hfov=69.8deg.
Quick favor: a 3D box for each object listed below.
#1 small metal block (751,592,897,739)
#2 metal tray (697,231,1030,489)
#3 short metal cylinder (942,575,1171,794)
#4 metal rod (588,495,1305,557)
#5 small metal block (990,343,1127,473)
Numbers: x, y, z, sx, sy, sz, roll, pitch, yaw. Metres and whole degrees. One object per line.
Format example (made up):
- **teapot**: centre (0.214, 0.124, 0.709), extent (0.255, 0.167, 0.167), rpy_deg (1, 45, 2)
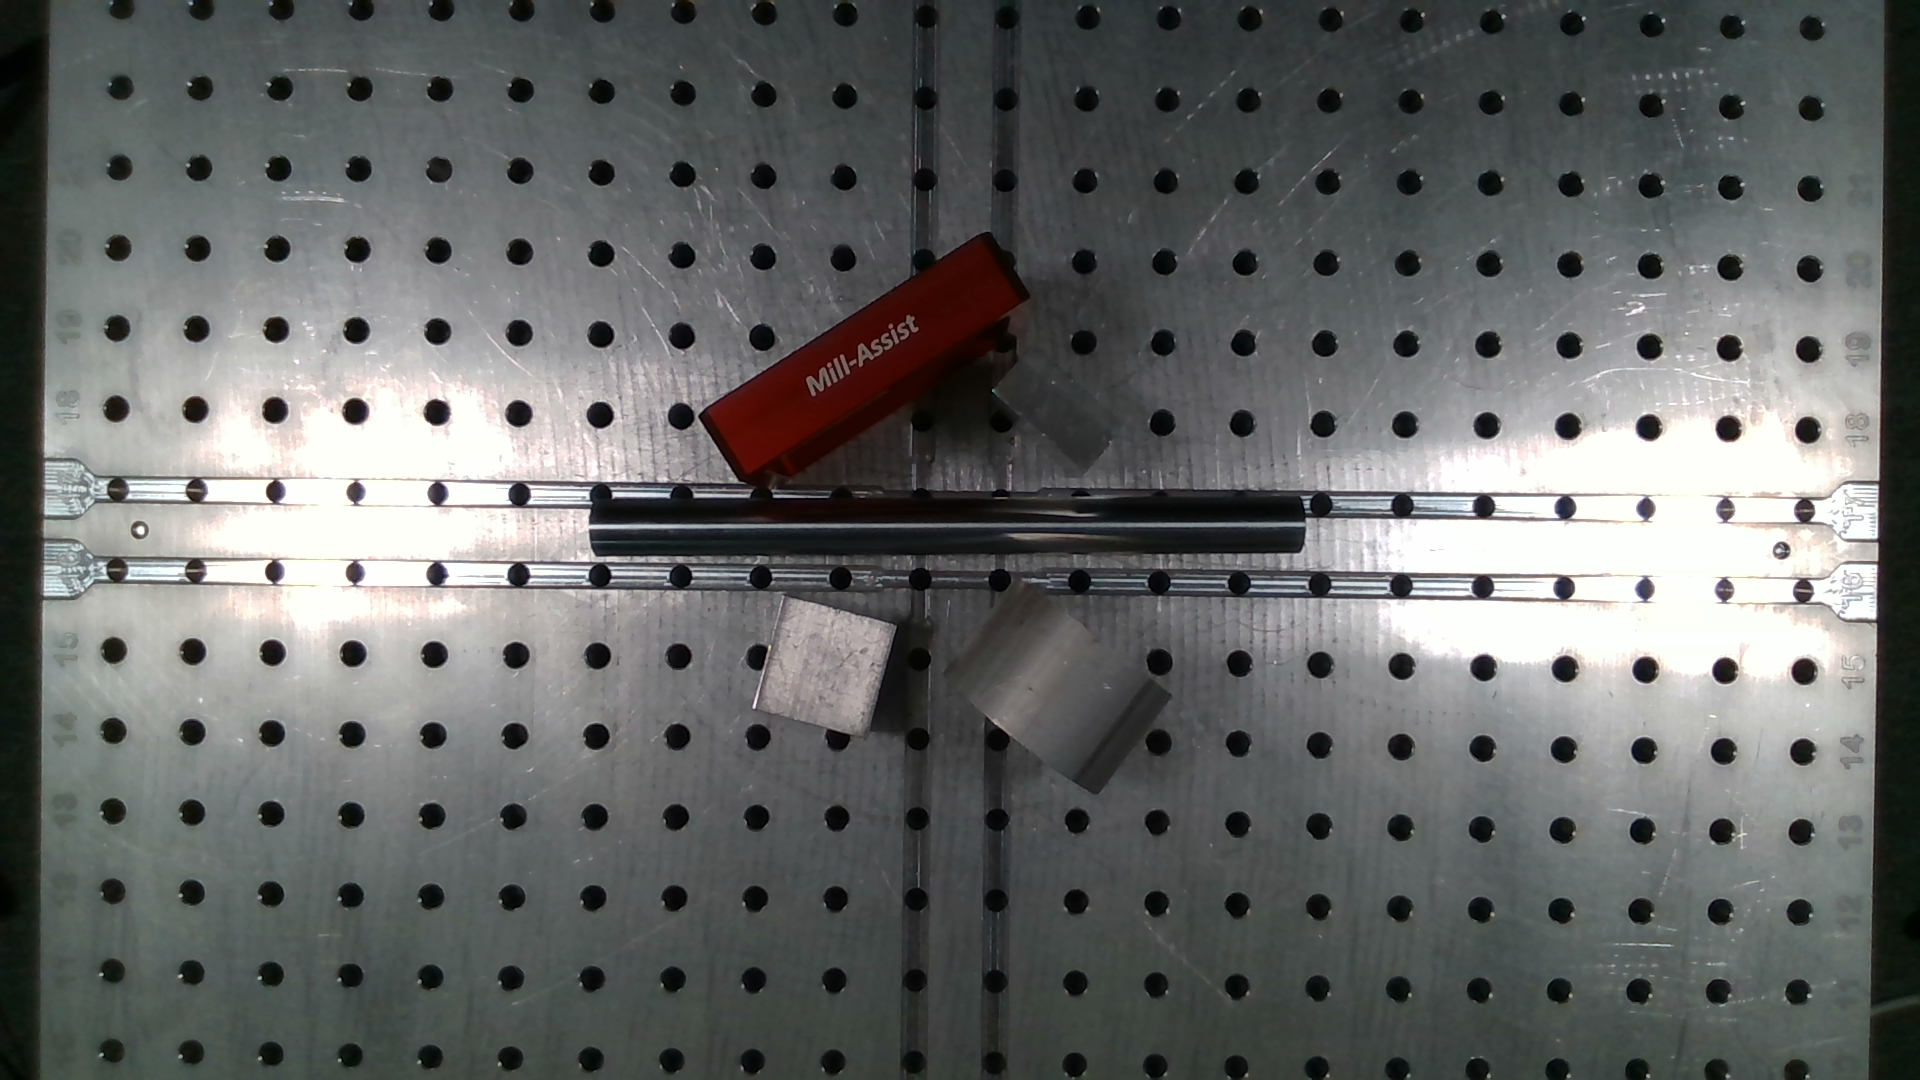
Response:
- **small metal block**: centre (-0.057, 0.053, 0.590), extent (0.050, 0.025, 0.050), rpy_deg (15, 90, 0)
- **metal tray**: centre (-0.036, -0.069, 0.555), extent (0.130, 0.090, 0.030), rpy_deg (-32, 90, 0)
- **short metal cylinder**: centre (0.040, 0.058, 0.562), extent (0.080, 0.080, 0.050), rpy_deg (37, 90, 0)
- **metal rod**: centre (-0.006, -0.006, 0.589), extent (0.300, 0.025, 0.025), rpy_deg (0, 90, 0)
- **small metal block**: centre (0.040, -0.053, 0.576), extent (0.050, 0.050, 0.025), rpy_deg (41, 90, 0)
